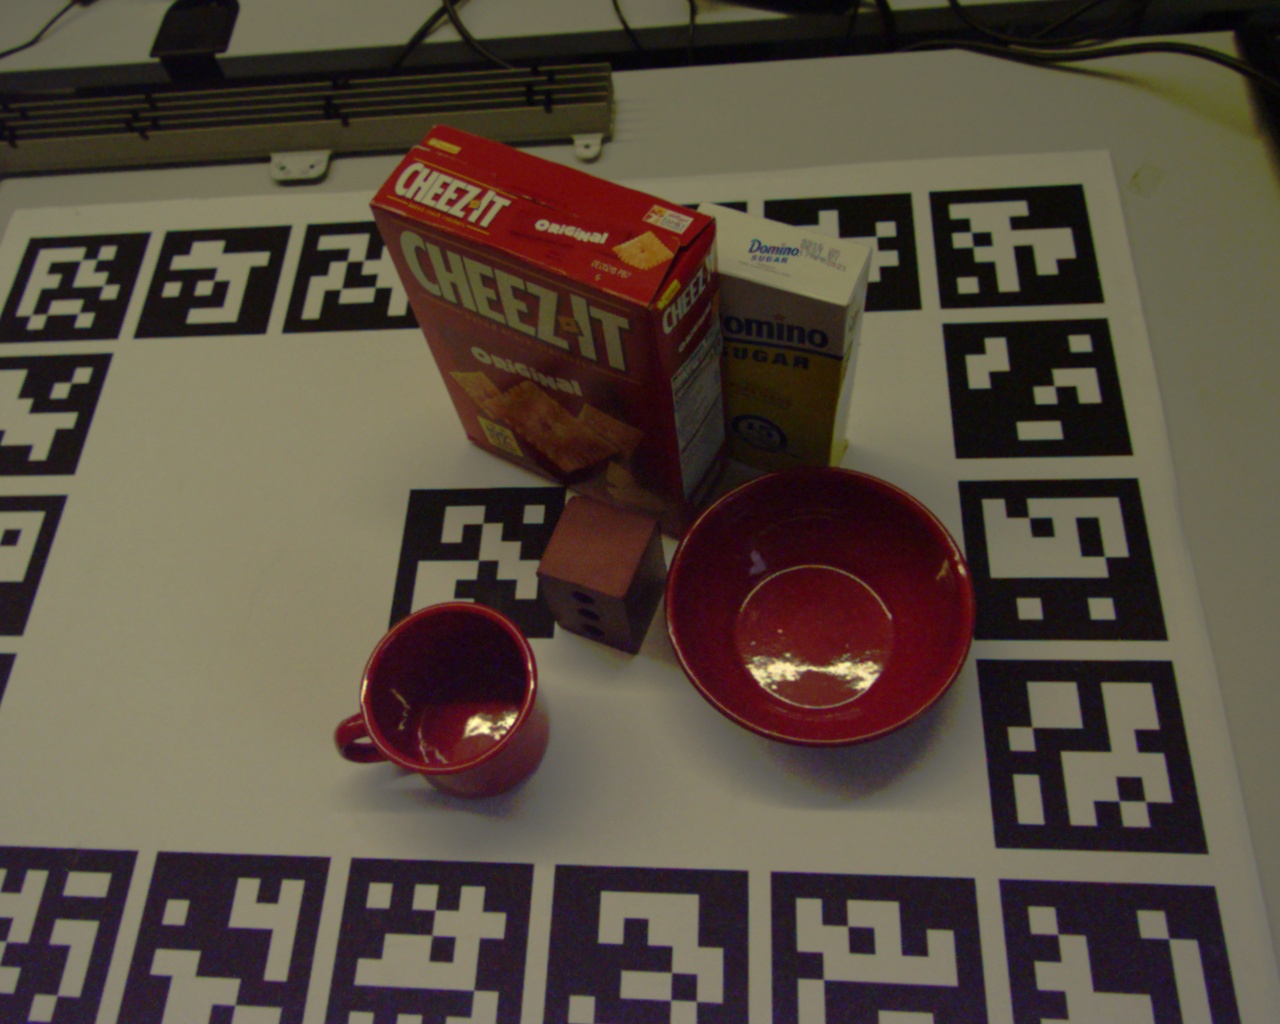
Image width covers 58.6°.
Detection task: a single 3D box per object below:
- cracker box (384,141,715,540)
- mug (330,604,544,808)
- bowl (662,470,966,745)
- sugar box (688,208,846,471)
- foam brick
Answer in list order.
[{"bbox_3d":[-0.044,-0.088,0.661,0.166,0.212,0.072,27,66,19],"label":"cracker box"},{"bbox_3d":[-0.112,0.113,0.631,0.117,0.081,0.094,-9,52,5],"label":"mug"},{"bbox_3d":[0.095,0.059,0.638,0.162,0.055,0.162,-4,62,6],"label":"bowl"},{"bbox_3d":[0.068,-0.093,0.668,0.093,0.175,0.045,19,65,17],"label":"sugar box"},{"bbox_3d":[-0.025,0.035,0.673,0.053,0.077,0.051,13,63,15],"label":"foam brick"}]
